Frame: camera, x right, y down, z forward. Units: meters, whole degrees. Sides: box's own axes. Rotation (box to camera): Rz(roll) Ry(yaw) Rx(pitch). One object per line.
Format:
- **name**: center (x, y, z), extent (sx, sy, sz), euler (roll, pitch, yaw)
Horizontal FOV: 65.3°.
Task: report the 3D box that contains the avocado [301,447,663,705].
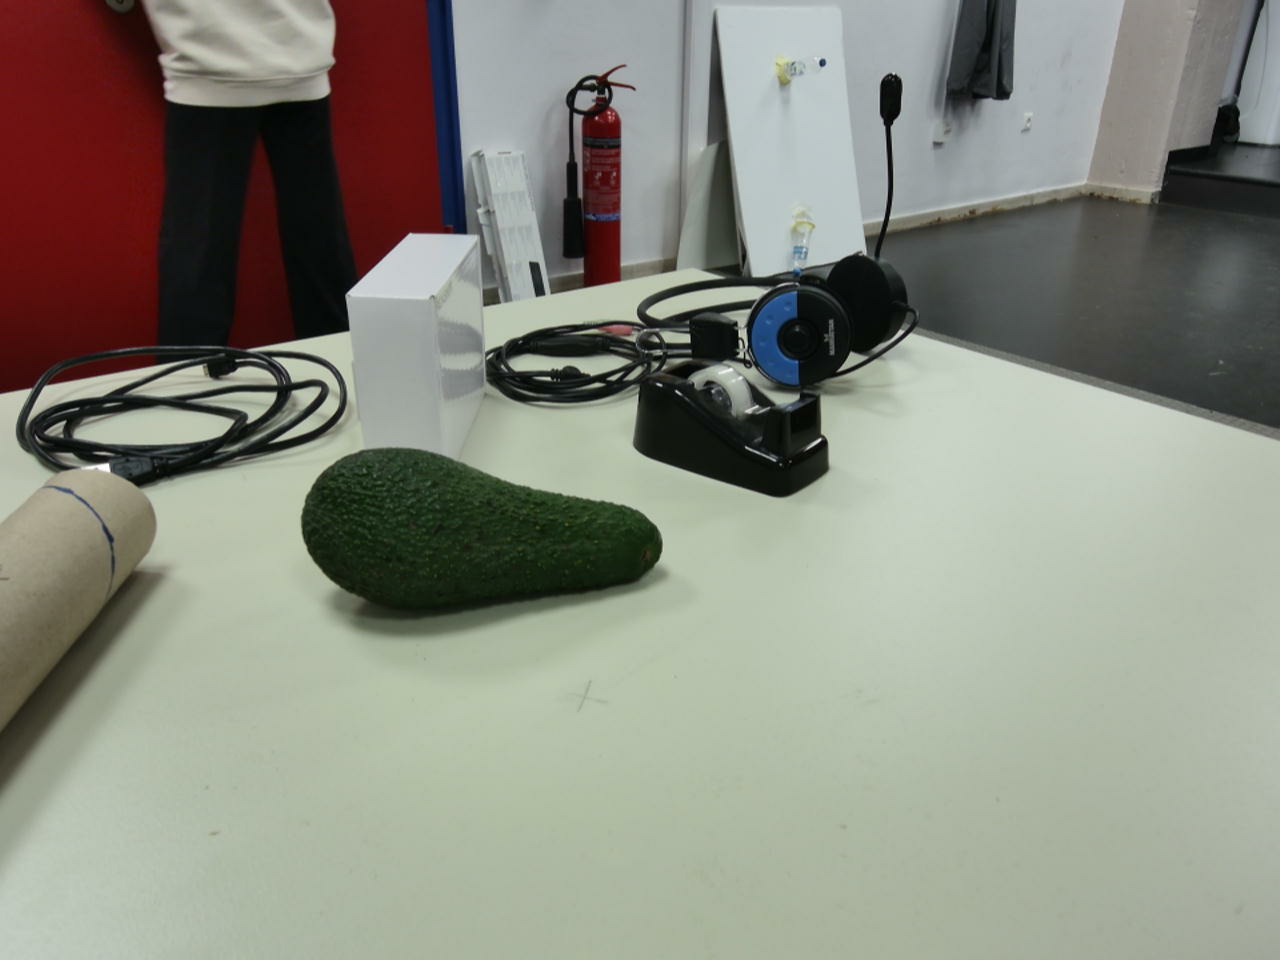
- **avocado**: center (-0.060, 0.014, 0.399), extent (0.141, 0.067, 0.063), euler (-10, 25, -22)
